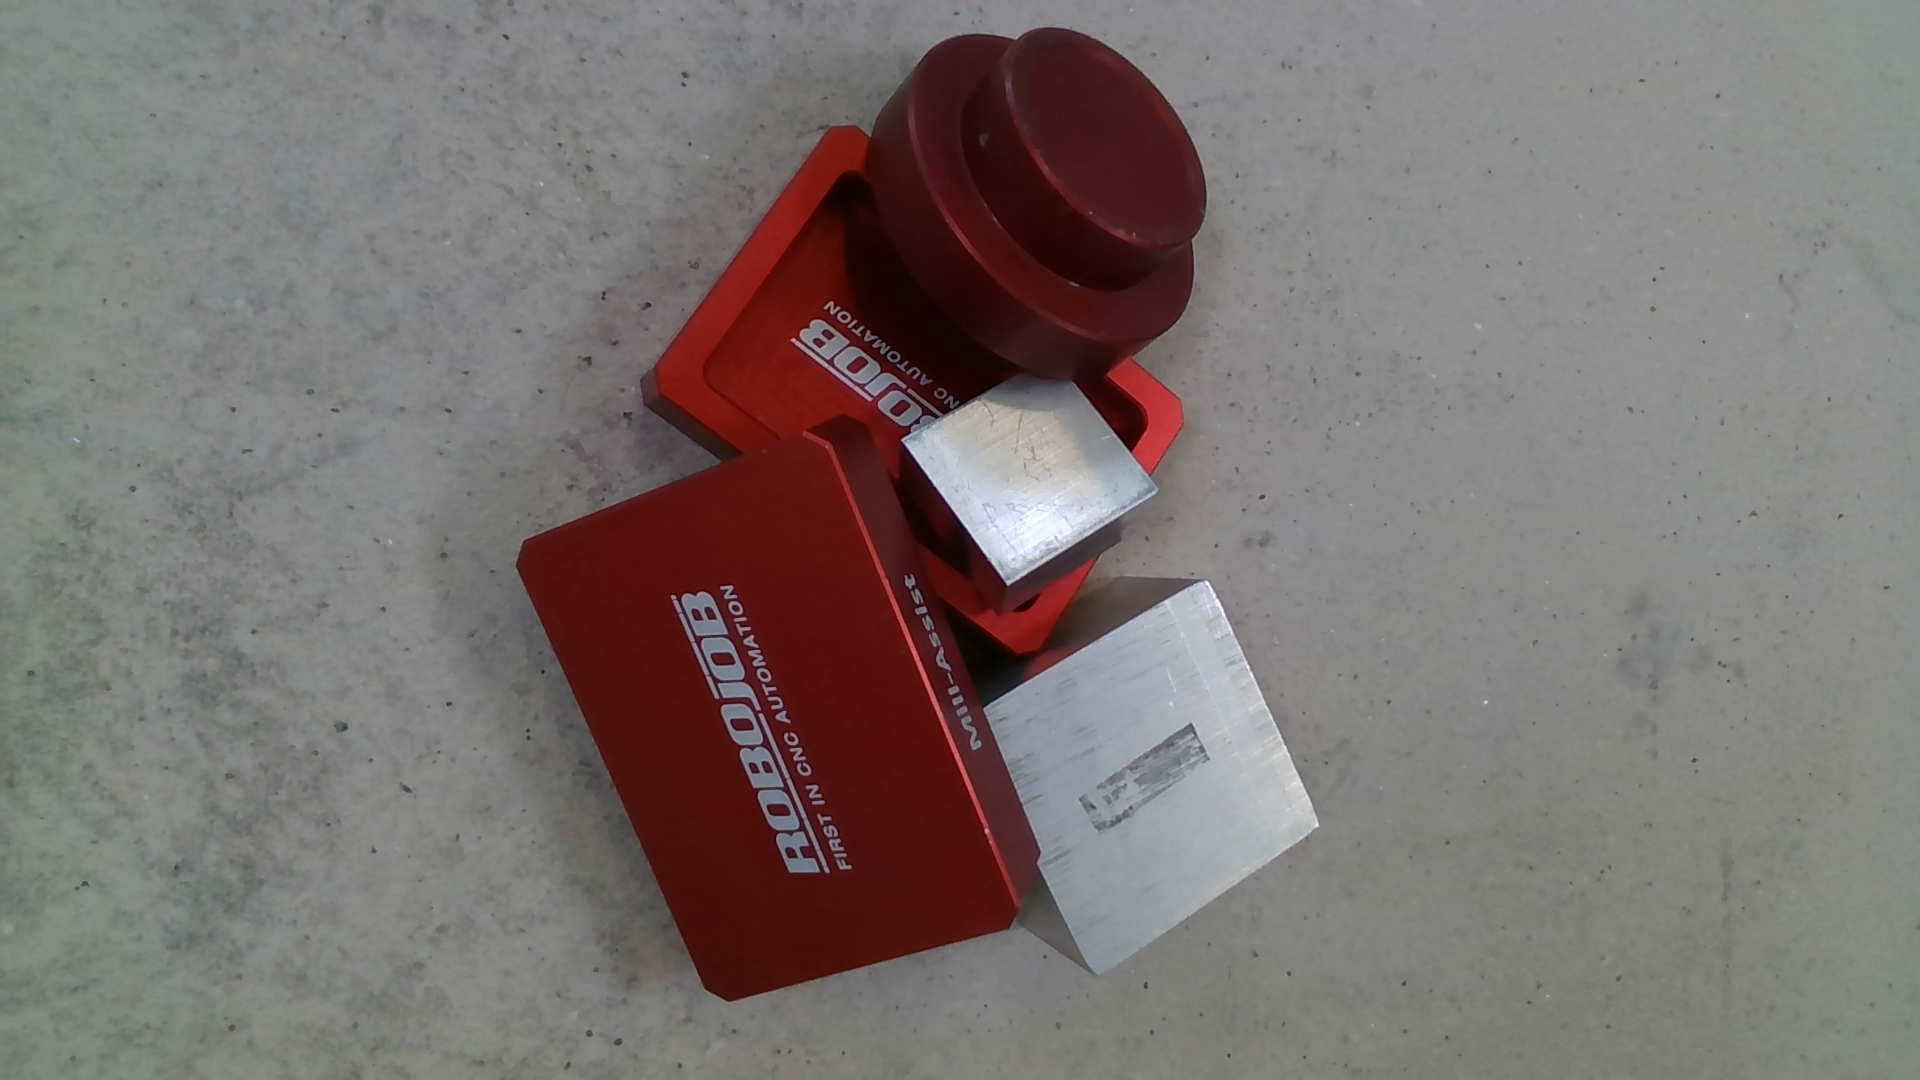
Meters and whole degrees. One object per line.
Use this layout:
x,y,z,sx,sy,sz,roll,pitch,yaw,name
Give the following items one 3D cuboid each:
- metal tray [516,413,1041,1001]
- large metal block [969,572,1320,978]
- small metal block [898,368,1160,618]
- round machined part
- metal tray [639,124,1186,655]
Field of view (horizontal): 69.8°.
-0.045,0.044,0.351,0.090,0.030,0.130,-20,98,17,metal tray
0.044,0.064,0.398,0.080,0.050,0.080,-28,100,-18,large metal block
0.018,-0.016,0.376,0.050,0.025,0.050,-32,72,-15,small metal block
0.028,-0.097,0.373,0.098,0.042,0.098,19,55,-30,round machined part
-0.011,-0.039,0.387,0.130,0.030,0.090,36,78,-17,metal tray
